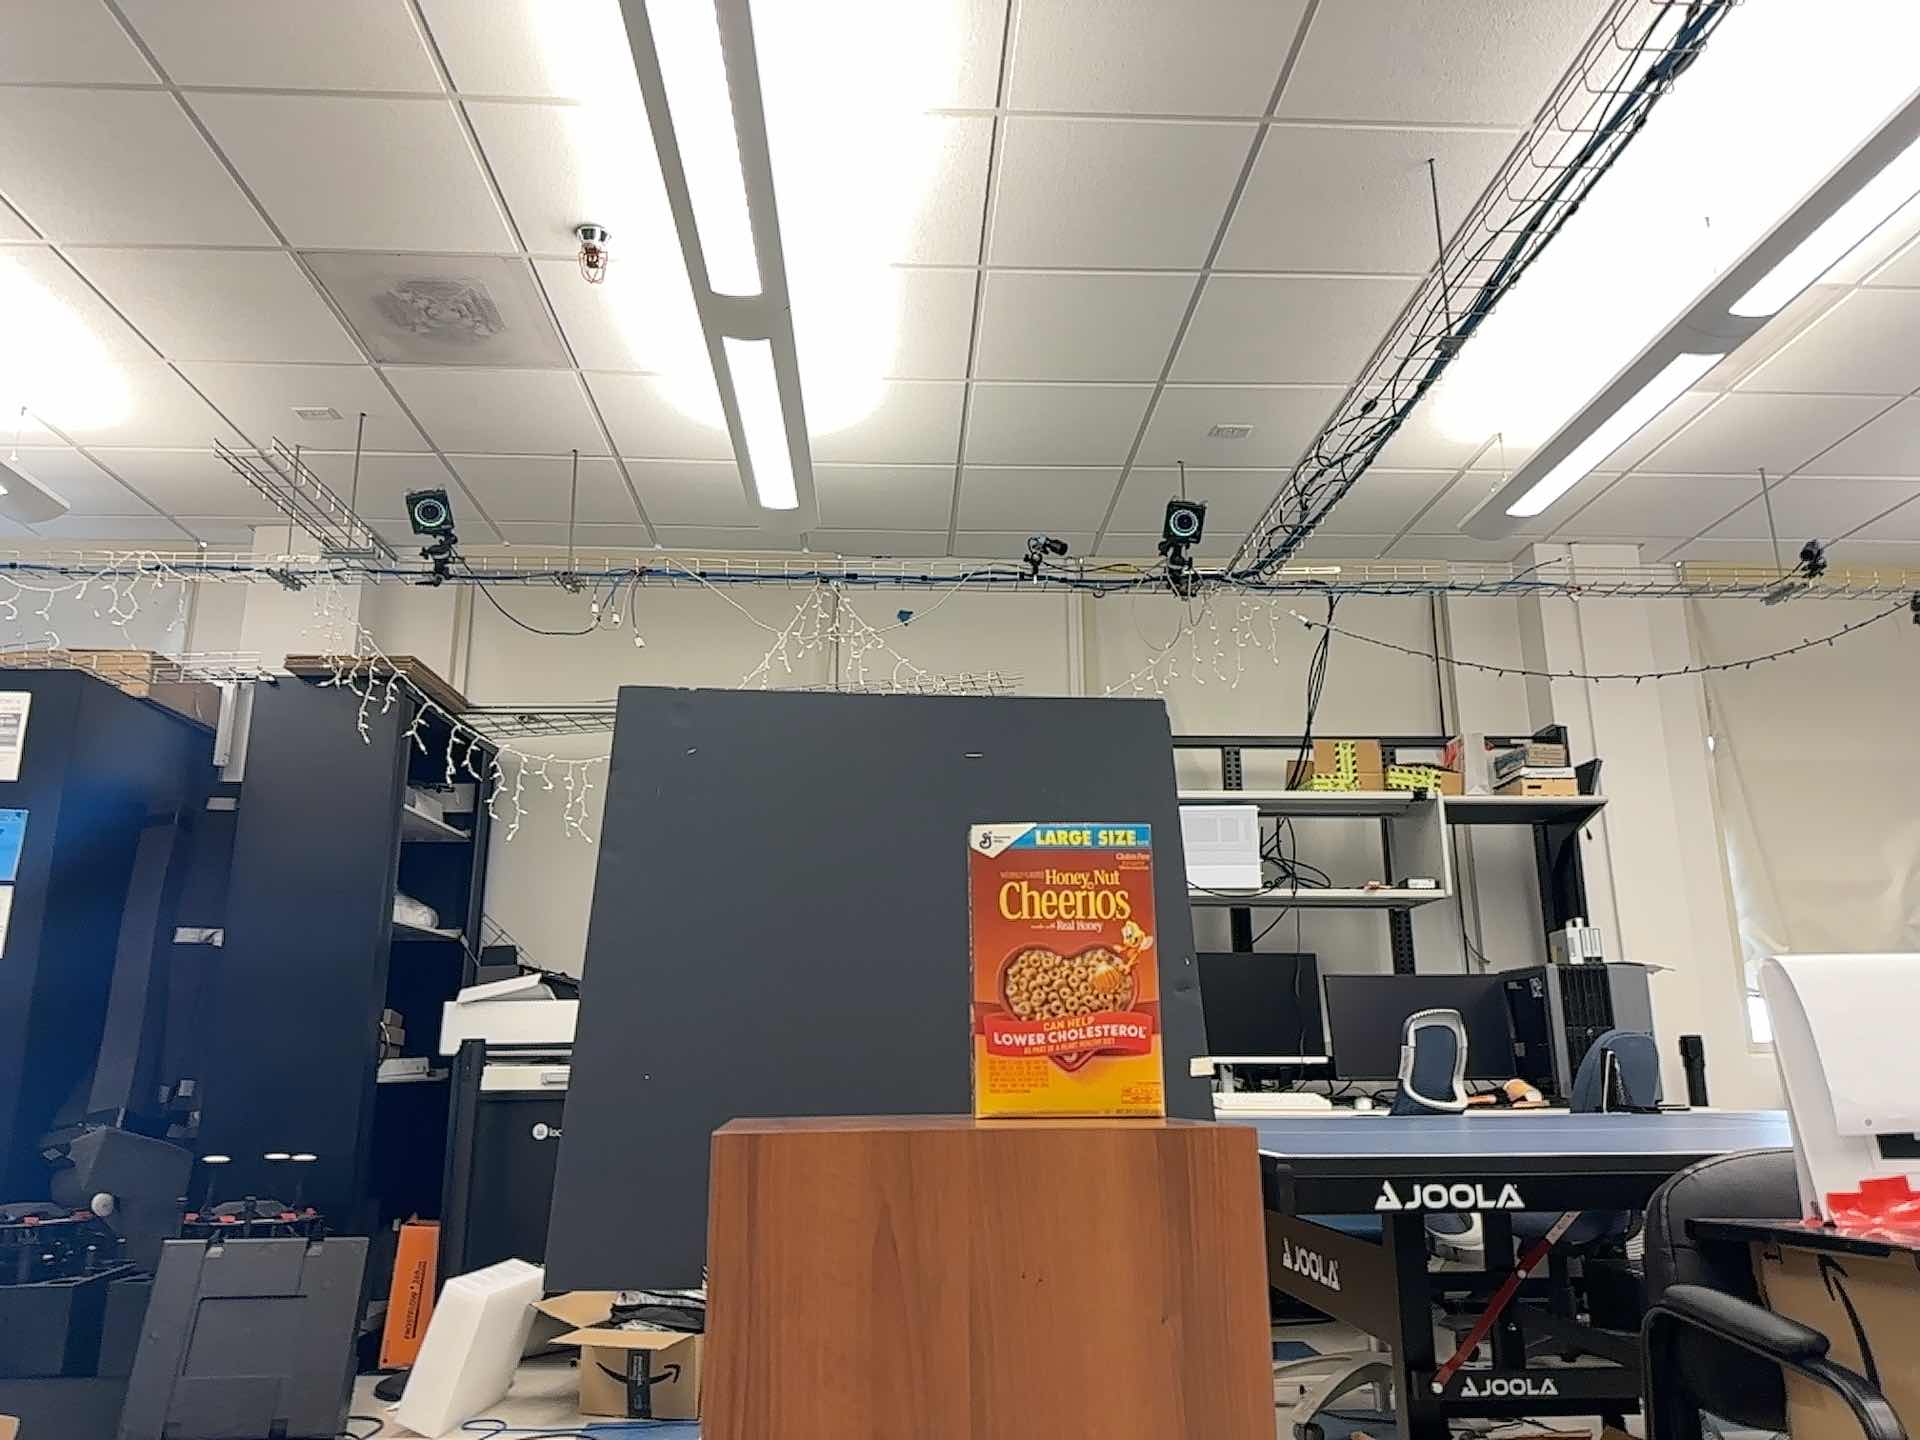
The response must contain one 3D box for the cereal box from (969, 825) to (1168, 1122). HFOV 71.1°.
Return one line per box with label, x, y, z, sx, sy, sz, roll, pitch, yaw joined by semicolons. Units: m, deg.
cereal box;0.112;0.267;1.434;0.195;0.297;0.065;-1;-11;4
